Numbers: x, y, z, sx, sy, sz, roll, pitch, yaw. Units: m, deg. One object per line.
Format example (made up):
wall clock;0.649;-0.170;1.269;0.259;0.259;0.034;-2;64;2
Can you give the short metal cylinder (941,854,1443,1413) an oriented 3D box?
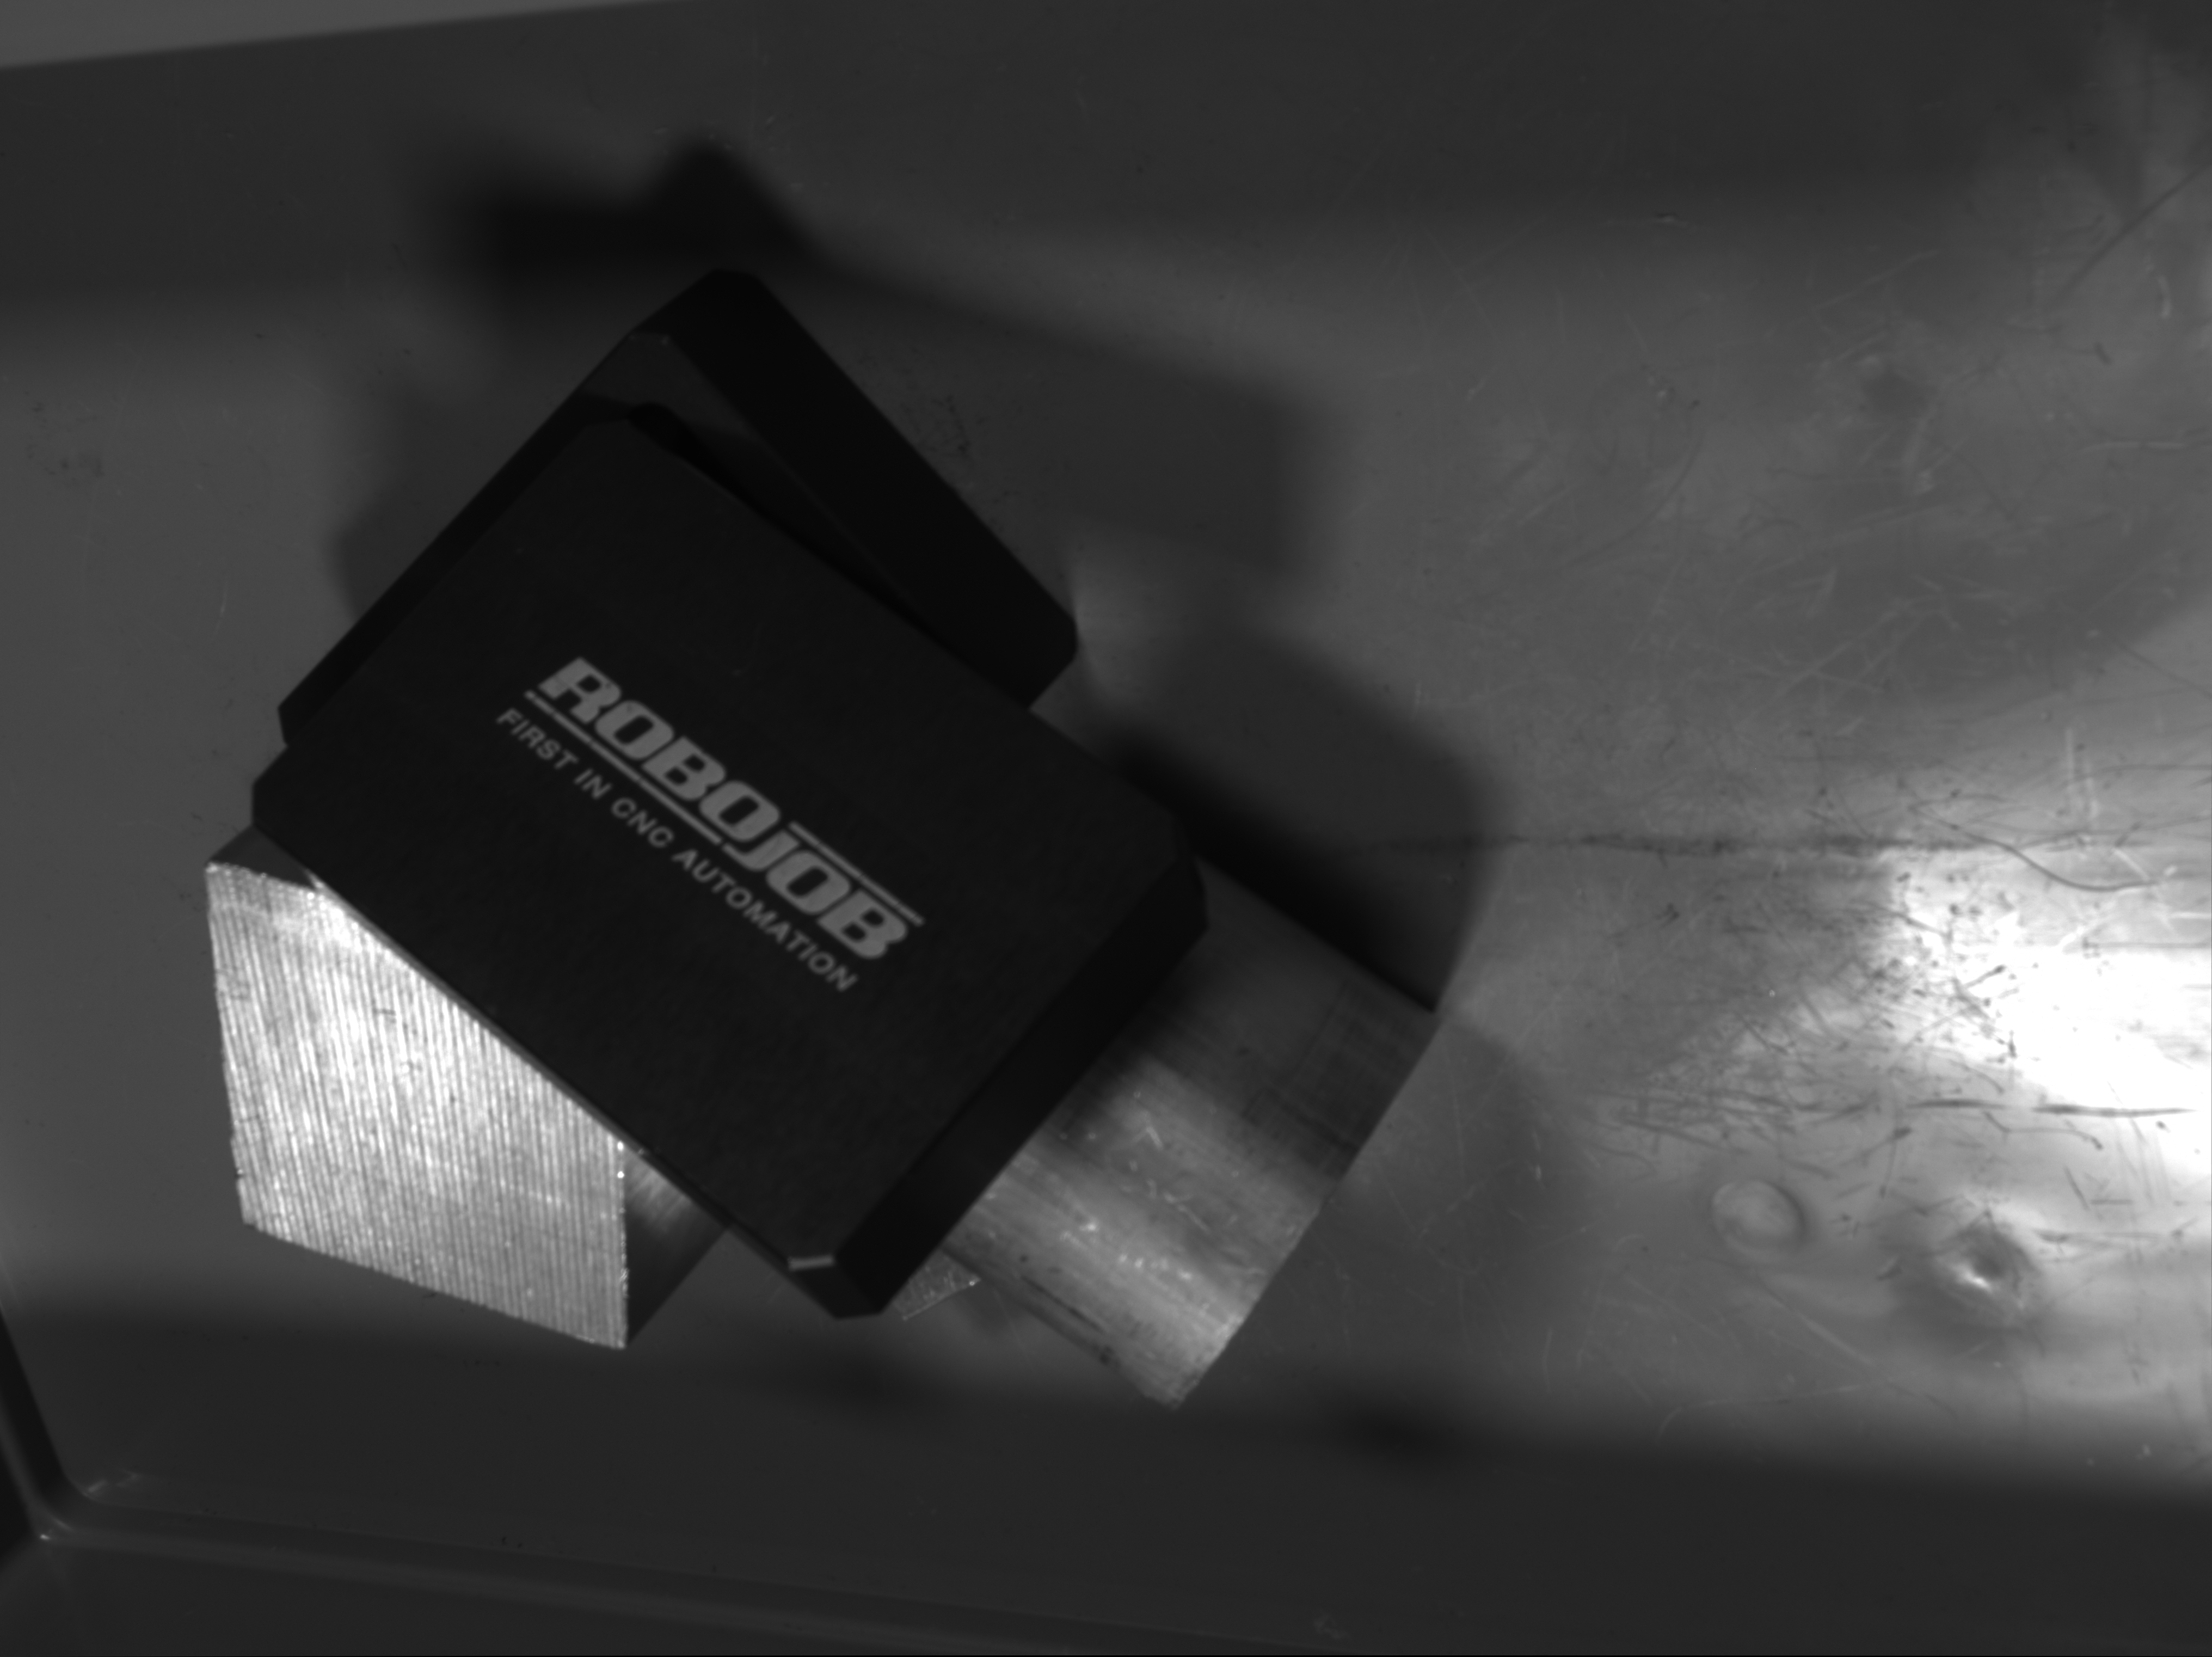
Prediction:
short metal cylinder;0.014;0.051;0.619;0.050;0.080;0.080;34;128;5

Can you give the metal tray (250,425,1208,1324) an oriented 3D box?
metal tray;-0.061;0.005;0.585;0.130;0.090;0.030;36;168;21

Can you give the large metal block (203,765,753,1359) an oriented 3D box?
large metal block;-0.108;0.037;0.650;0.080;0.050;0.080;15;124;18

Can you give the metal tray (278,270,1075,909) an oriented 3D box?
metal tray;-0.079;-0.025;0.650;0.090;0.030;0.130;47;128;-6

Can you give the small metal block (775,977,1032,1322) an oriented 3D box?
small metal block;-0.031;0.057;0.680;0.050;0.025;0.050;-32;101;37
